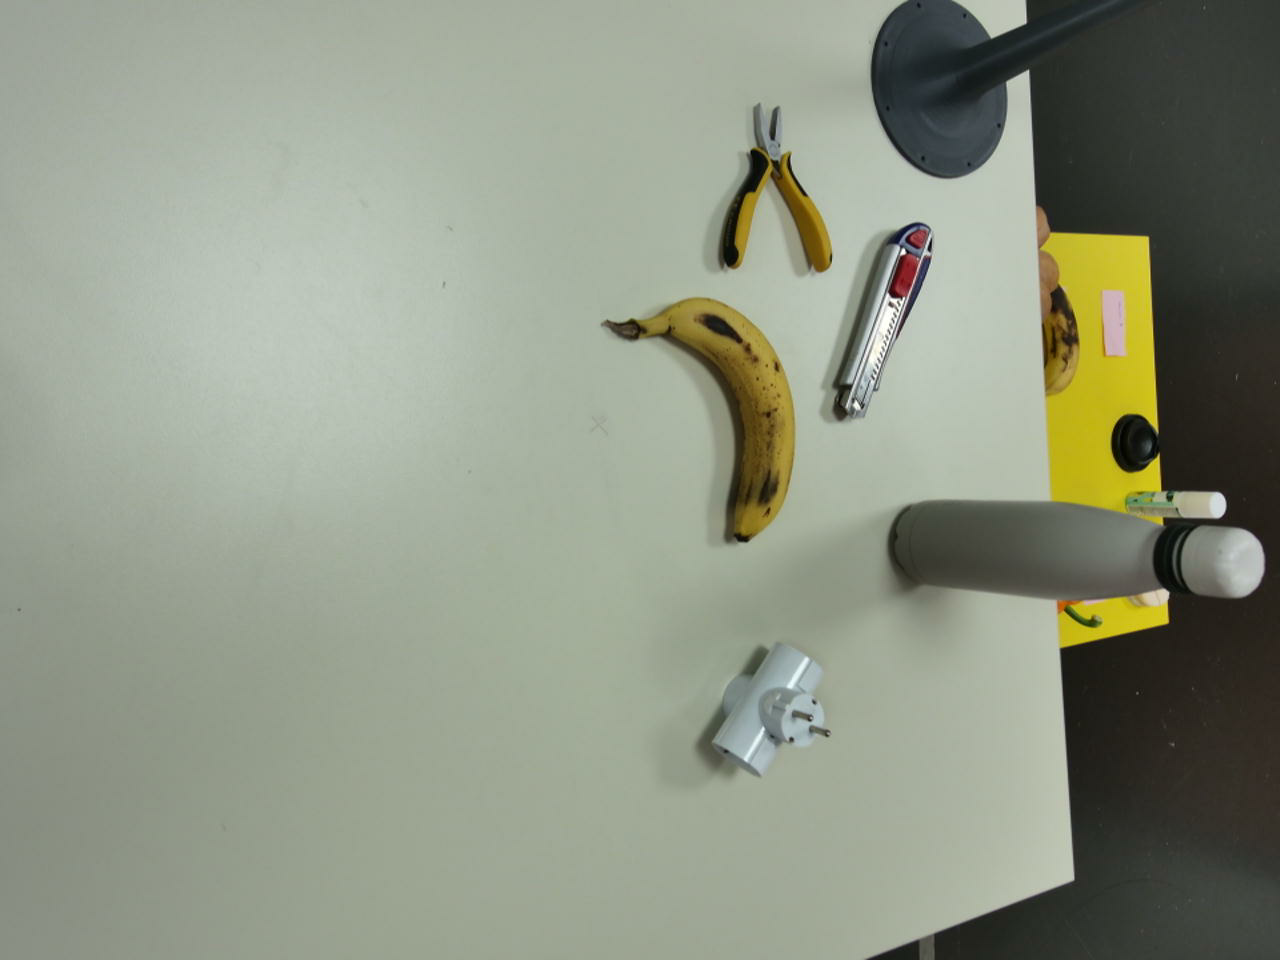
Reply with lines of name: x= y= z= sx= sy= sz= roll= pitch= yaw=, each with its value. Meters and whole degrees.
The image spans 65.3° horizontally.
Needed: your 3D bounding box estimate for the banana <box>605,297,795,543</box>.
banana: x=0.066 y=-0.055 z=0.731 sx=0.097 sy=0.038 sz=0.186 roll=-35 pitch=106 yaw=-23
